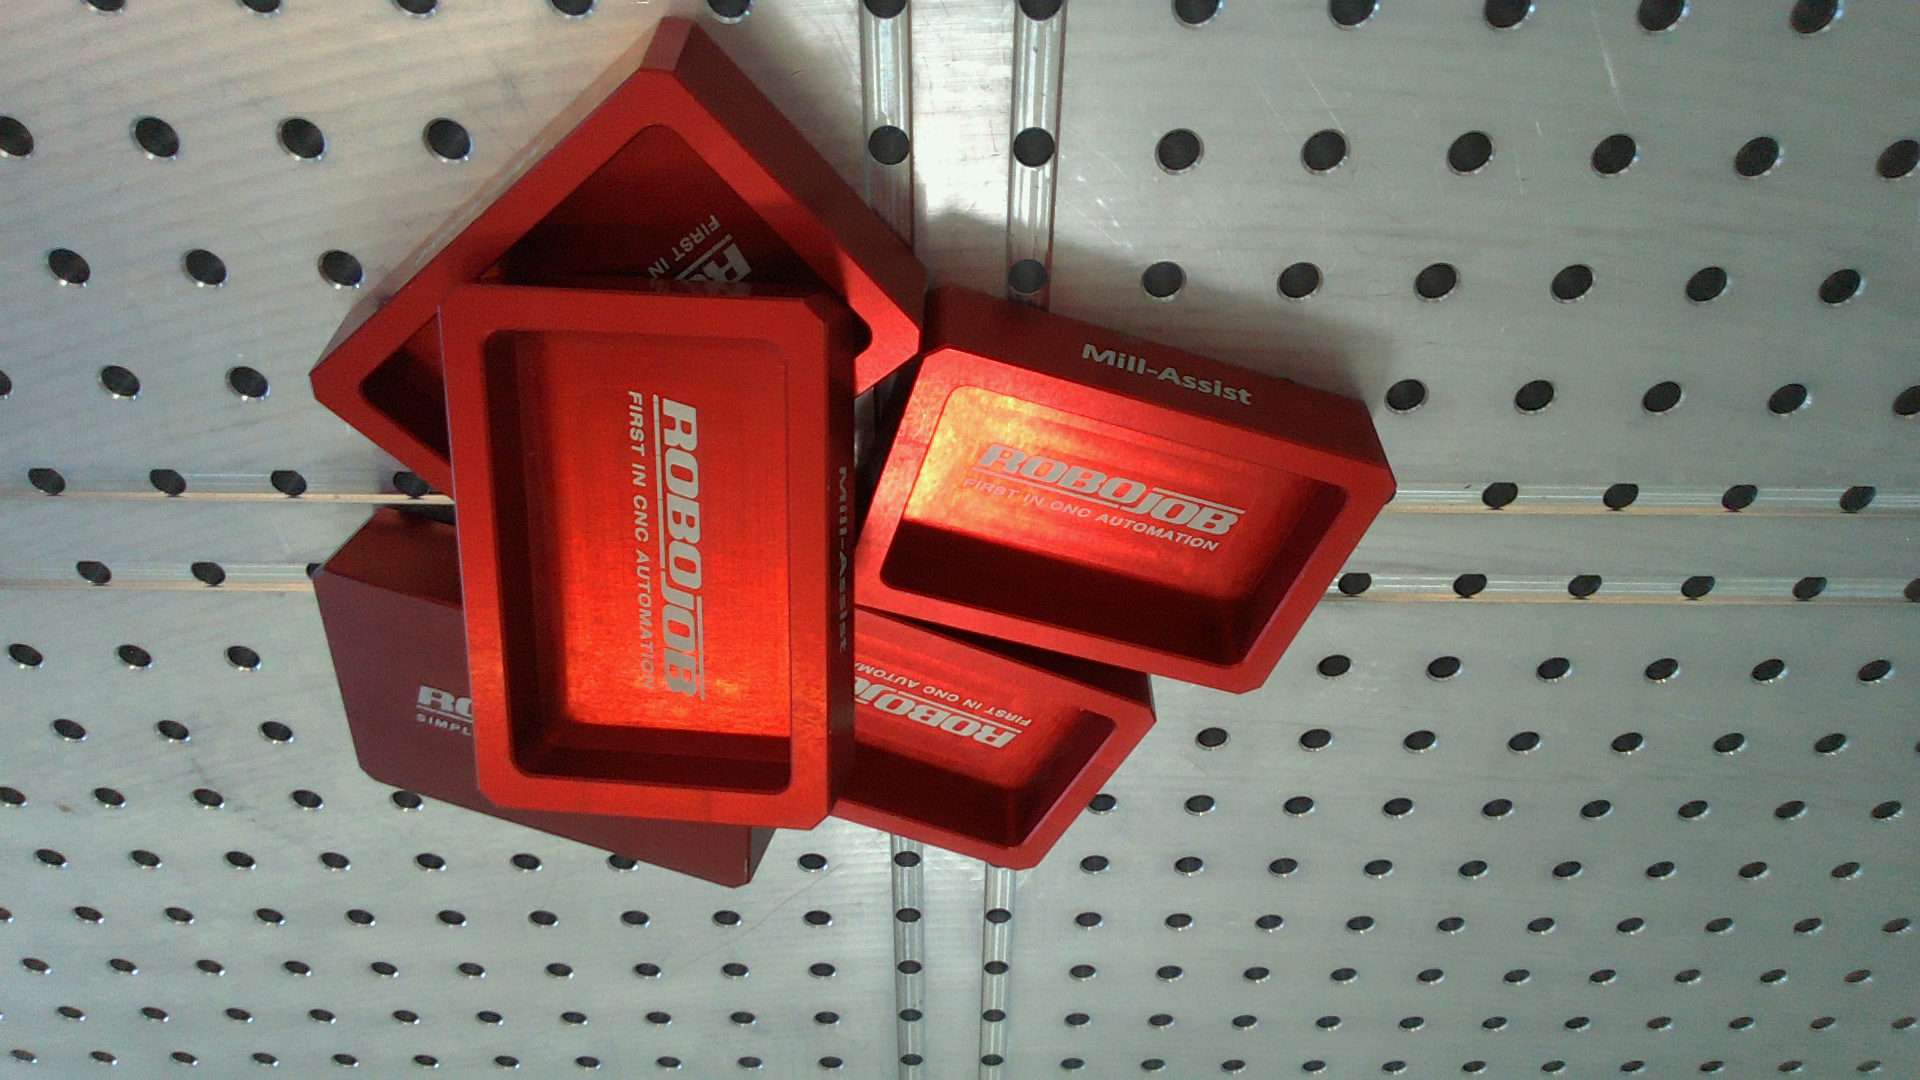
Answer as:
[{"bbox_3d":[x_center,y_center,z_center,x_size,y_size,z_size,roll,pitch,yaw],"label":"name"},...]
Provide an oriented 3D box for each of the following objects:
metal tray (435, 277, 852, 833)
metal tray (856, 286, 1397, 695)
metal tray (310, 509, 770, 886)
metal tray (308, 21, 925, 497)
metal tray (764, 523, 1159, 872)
[{"bbox_3d":[-0.074,0.003,0.336,0.090,0.030,0.130,3,106,7],"label":"metal tray"},{"bbox_3d":[0.040,-0.009,0.381,0.130,0.030,0.090,14,129,-12],"label":"metal tray"},{"bbox_3d":[-0.118,0.048,0.408,0.130,0.030,0.090,14,131,6],"label":"metal tray"},{"bbox_3d":[-0.084,-0.052,0.345,0.130,0.030,0.090,-32,122,24],"label":"metal tray"},{"bbox_3d":[-0.015,0.053,0.433,0.130,0.030,0.090,20,128,-16],"label":"metal tray"}]
